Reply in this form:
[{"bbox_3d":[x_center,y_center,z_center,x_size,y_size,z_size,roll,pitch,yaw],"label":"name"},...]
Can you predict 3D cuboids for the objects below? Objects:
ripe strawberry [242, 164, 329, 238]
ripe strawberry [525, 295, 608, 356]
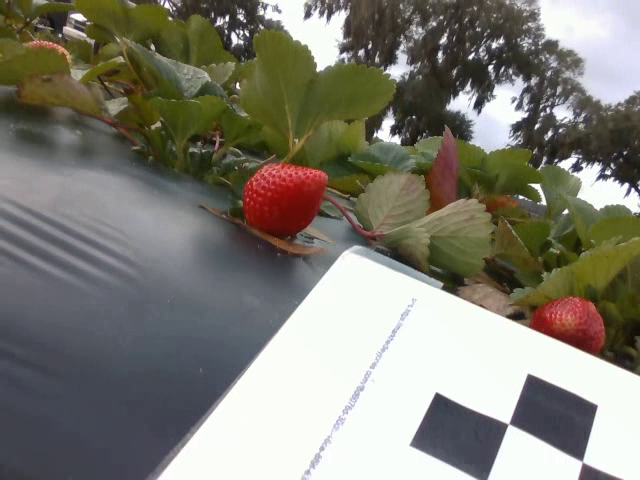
[{"bbox_3d":[-0.015,-0.026,0.326,0.065,0.043,0.047,-24,17,51],"label":"ripe strawberry"},{"bbox_3d":[0.116,0.040,0.278,0.040,0.037,0.042,34,1,23],"label":"ripe strawberry"}]
